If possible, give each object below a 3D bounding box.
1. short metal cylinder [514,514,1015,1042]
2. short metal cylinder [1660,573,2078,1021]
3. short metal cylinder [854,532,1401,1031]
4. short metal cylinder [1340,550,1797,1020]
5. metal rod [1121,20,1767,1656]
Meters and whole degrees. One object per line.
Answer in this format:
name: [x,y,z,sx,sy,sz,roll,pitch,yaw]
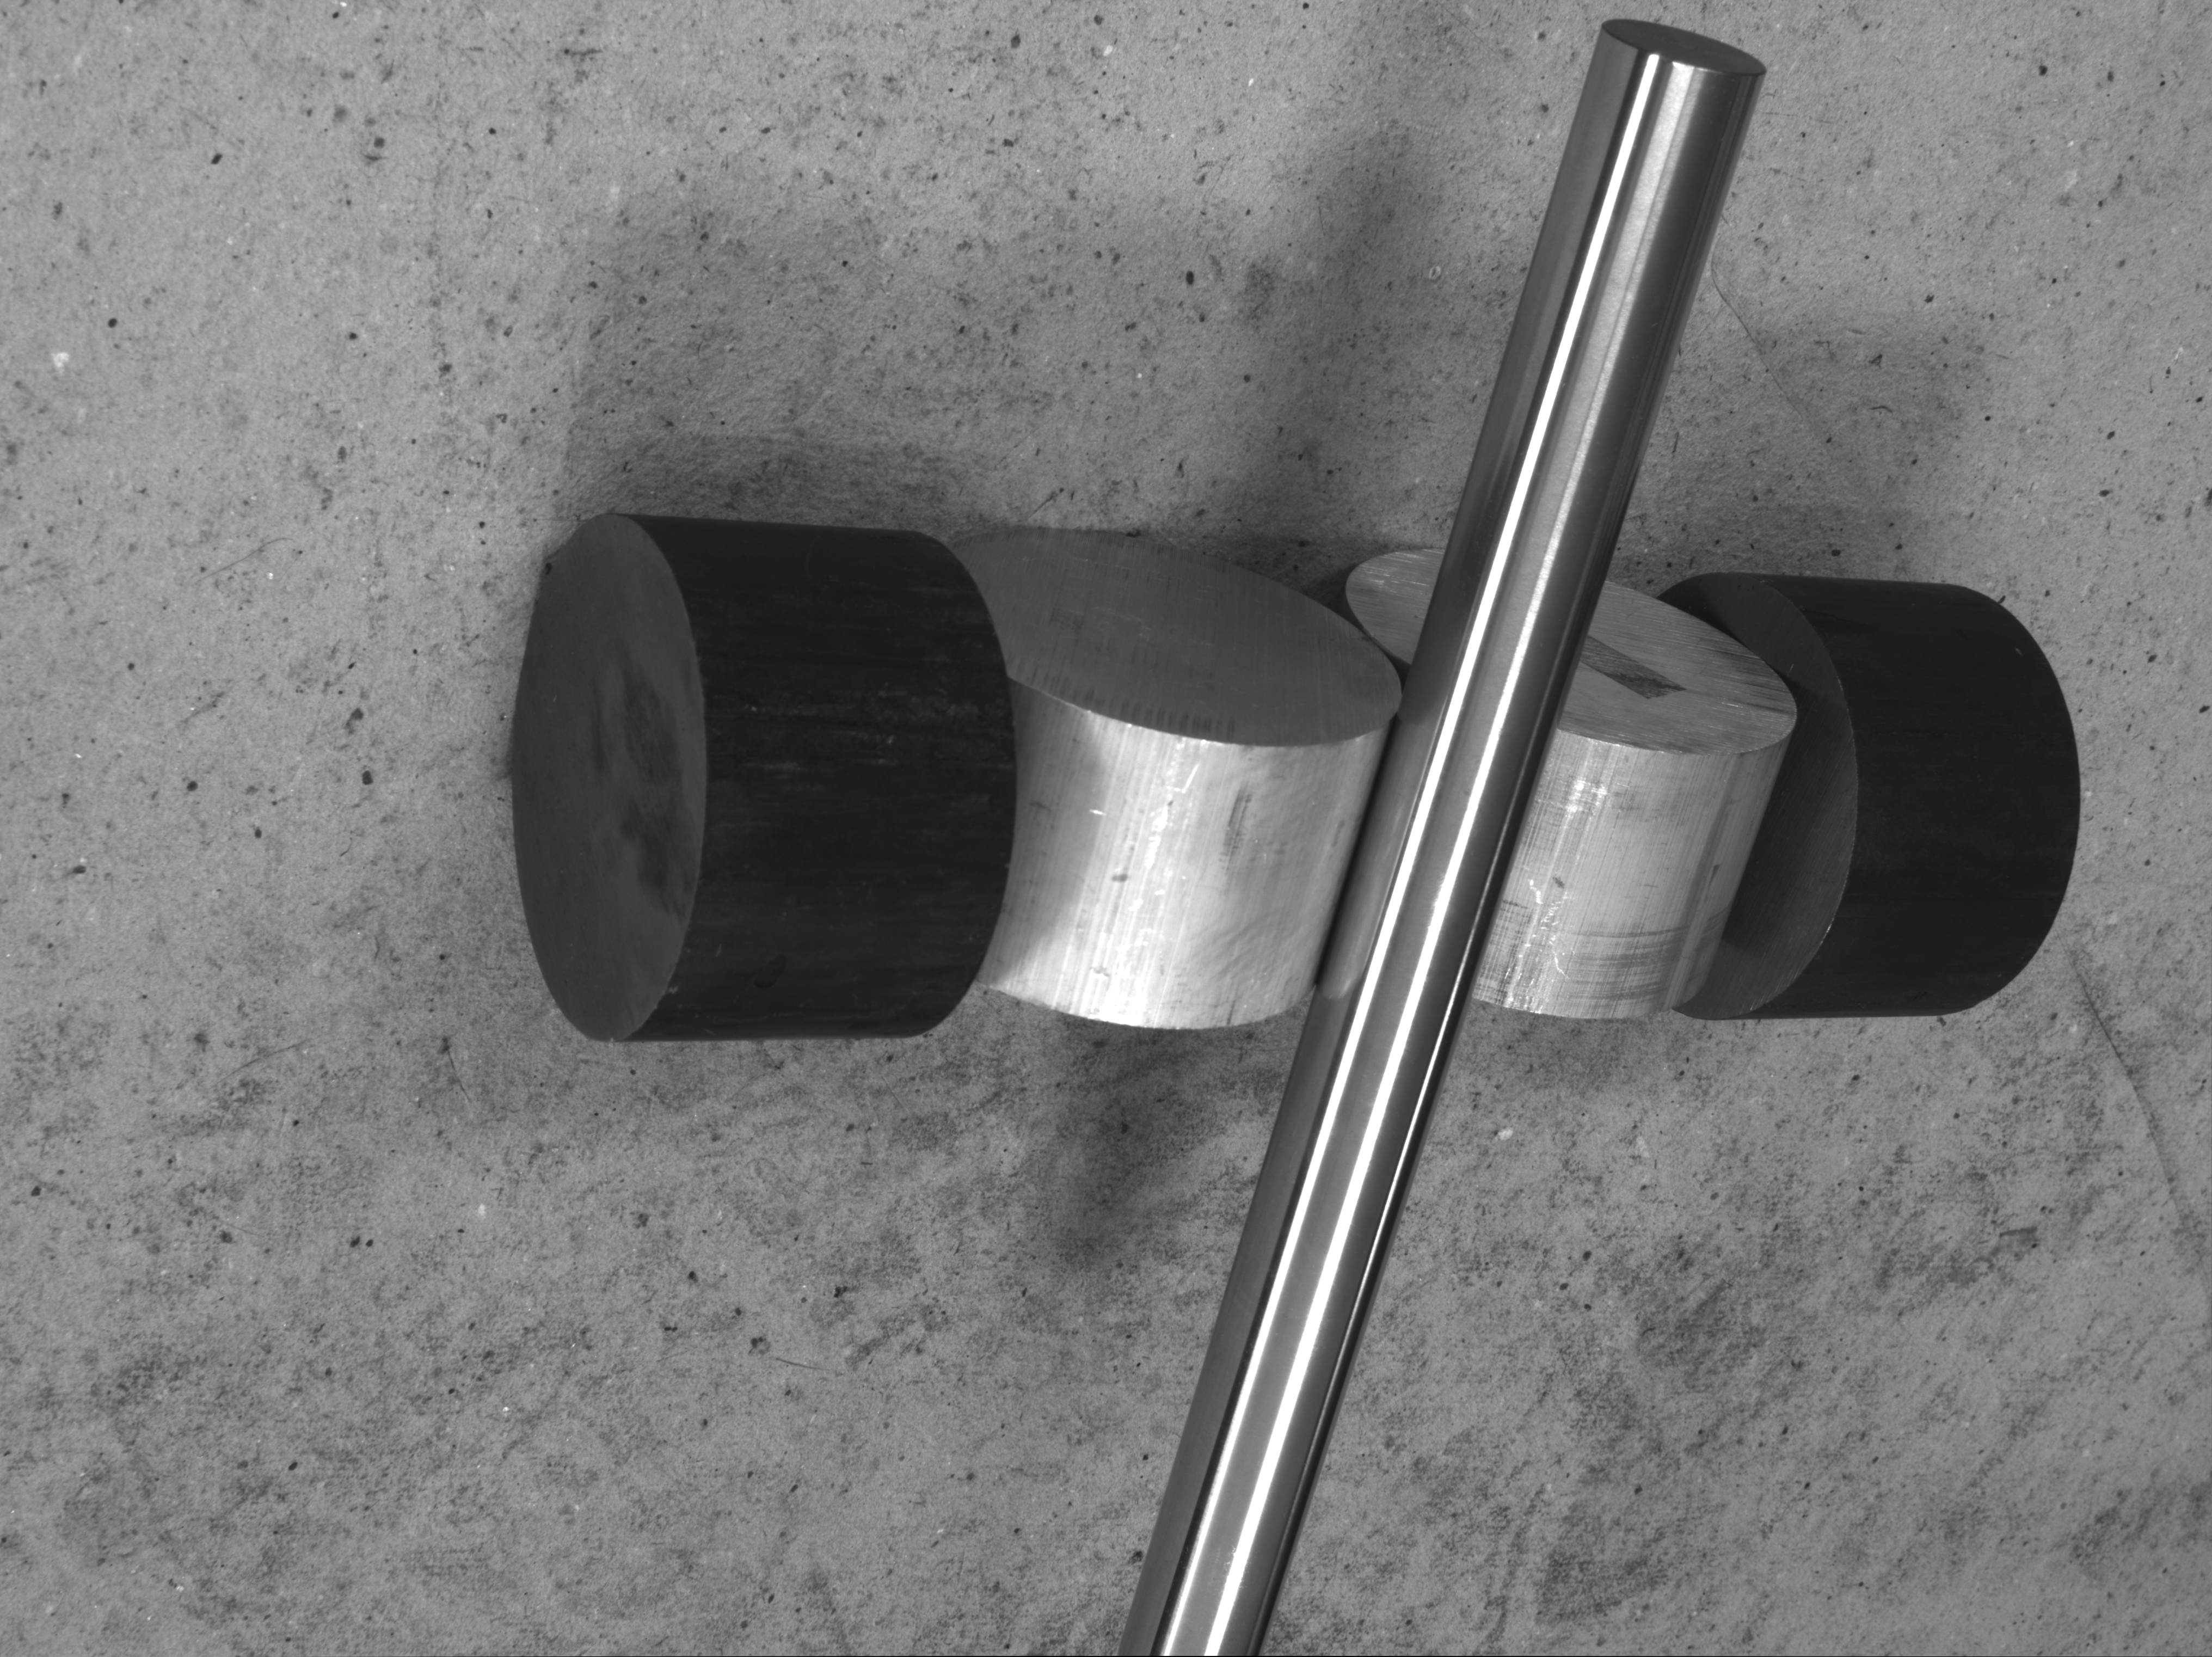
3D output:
short metal cylinder: [-0.055,-0.007,0.569,0.050,0.080,0.080,1,118,-28]
short metal cylinder: [0.130,-0.005,0.670,0.050,0.080,0.080,1,118,-28]
short metal cylinder: [0.003,-0.009,0.599,0.080,0.080,0.050,1,118,-28]
short metal cylinder: [0.073,-0.009,0.636,0.080,0.080,0.050,1,118,-28]
metal rod: [0.049,0.018,0.597,0.025,0.025,0.300,1,118,-28]
